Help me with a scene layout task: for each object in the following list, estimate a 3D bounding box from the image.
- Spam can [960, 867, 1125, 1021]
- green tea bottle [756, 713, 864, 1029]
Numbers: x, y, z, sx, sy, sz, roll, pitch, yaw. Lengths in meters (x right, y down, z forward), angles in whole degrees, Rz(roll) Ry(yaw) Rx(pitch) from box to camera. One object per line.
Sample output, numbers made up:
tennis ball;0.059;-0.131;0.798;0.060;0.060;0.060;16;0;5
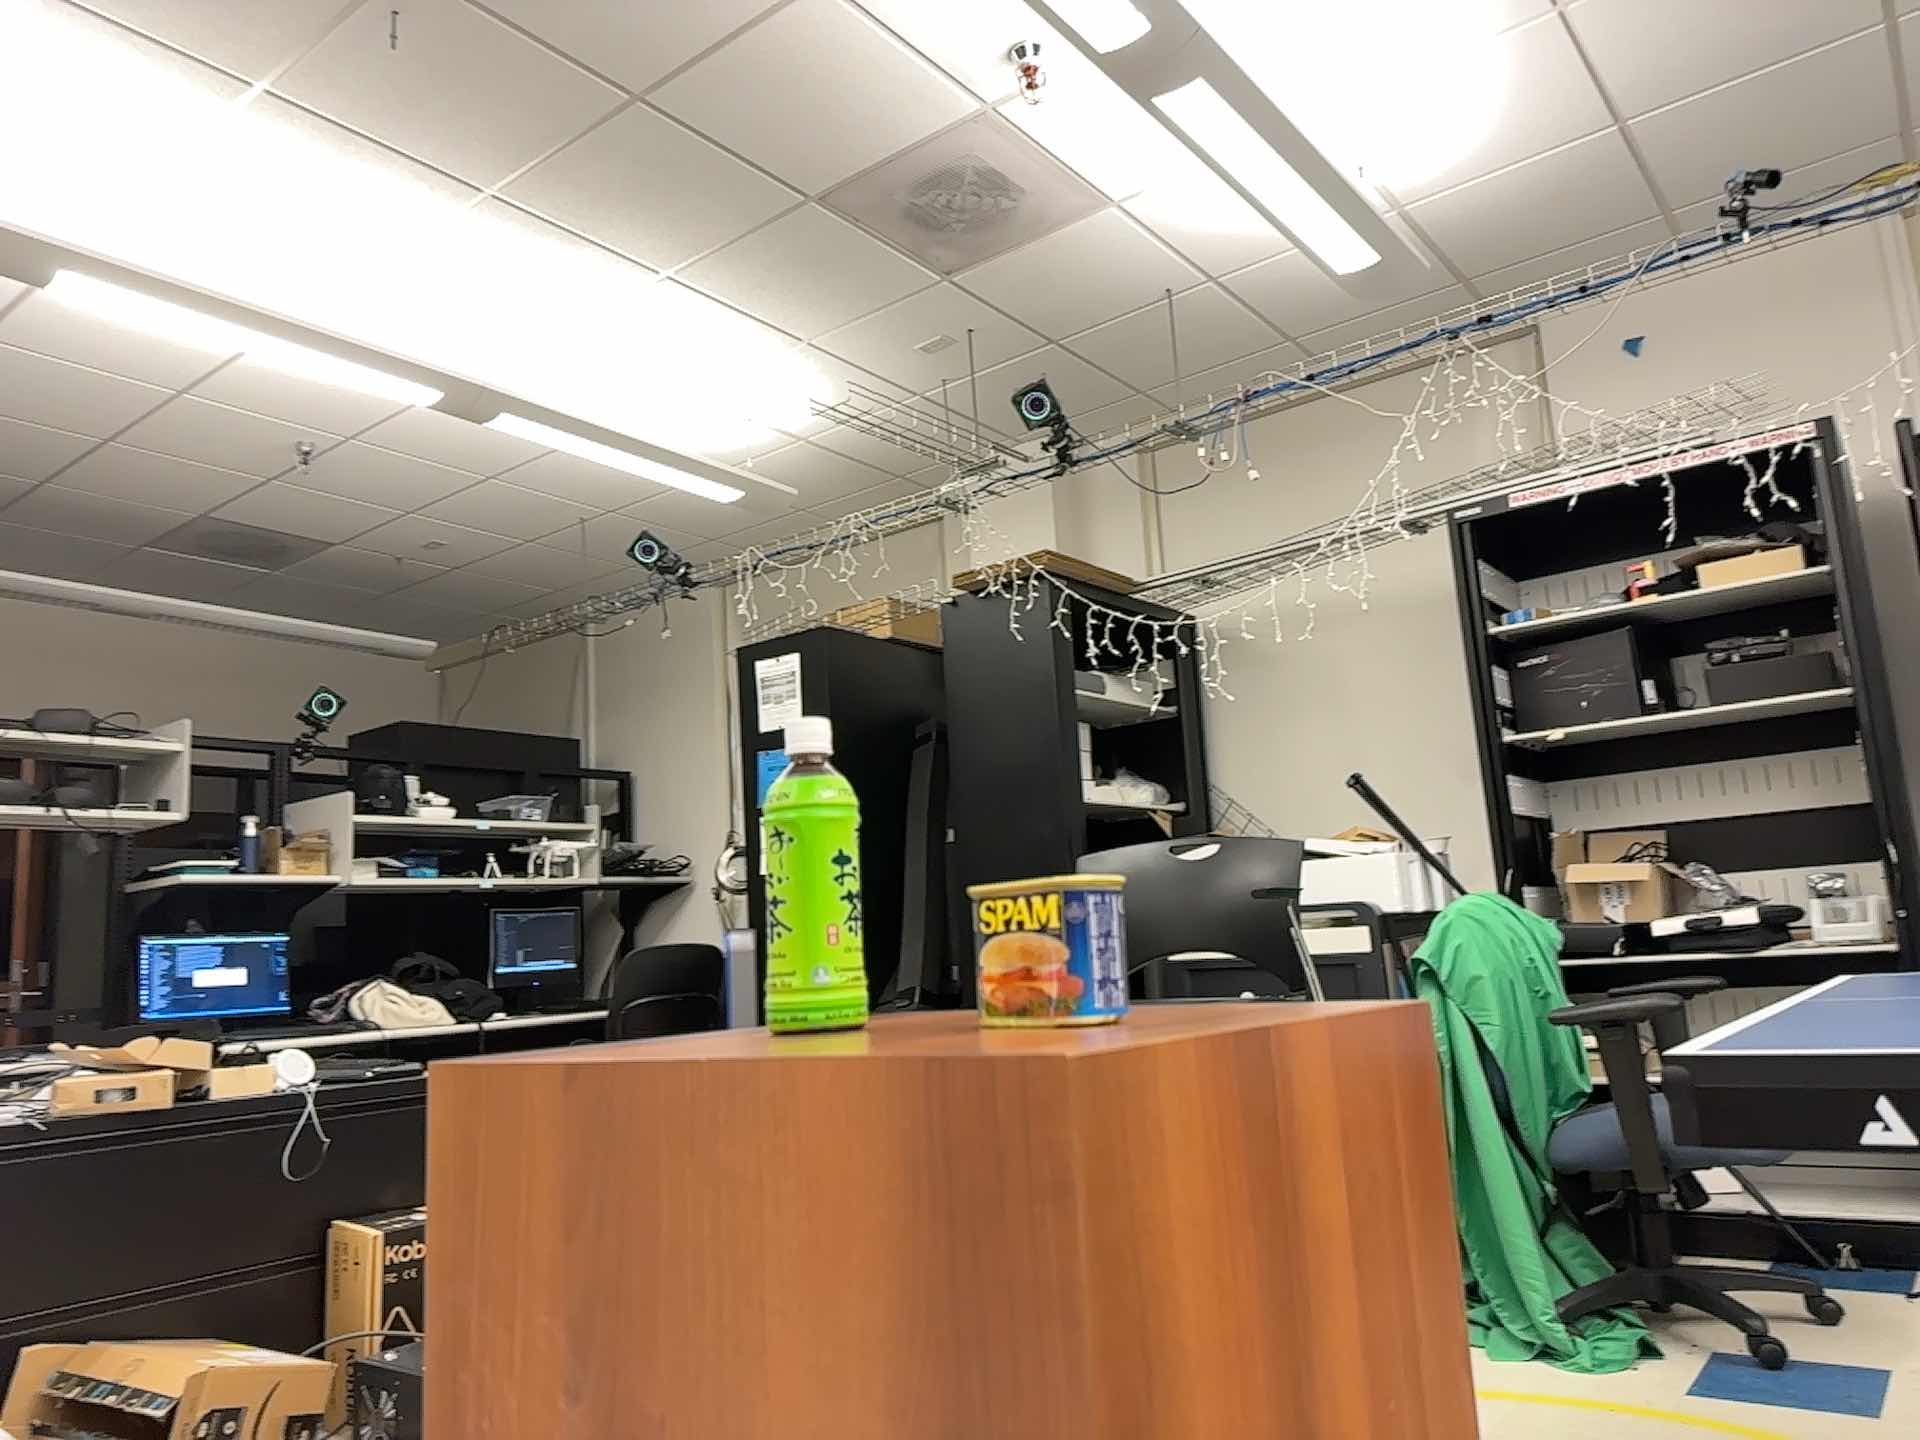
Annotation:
Spam can;0.050;0.137;0.813;0.056;0.083;0.100;8;-16;-43
green tea bottle;-0.104;0.101;0.917;0.073;0.212;0.073;-4;-14;-1
